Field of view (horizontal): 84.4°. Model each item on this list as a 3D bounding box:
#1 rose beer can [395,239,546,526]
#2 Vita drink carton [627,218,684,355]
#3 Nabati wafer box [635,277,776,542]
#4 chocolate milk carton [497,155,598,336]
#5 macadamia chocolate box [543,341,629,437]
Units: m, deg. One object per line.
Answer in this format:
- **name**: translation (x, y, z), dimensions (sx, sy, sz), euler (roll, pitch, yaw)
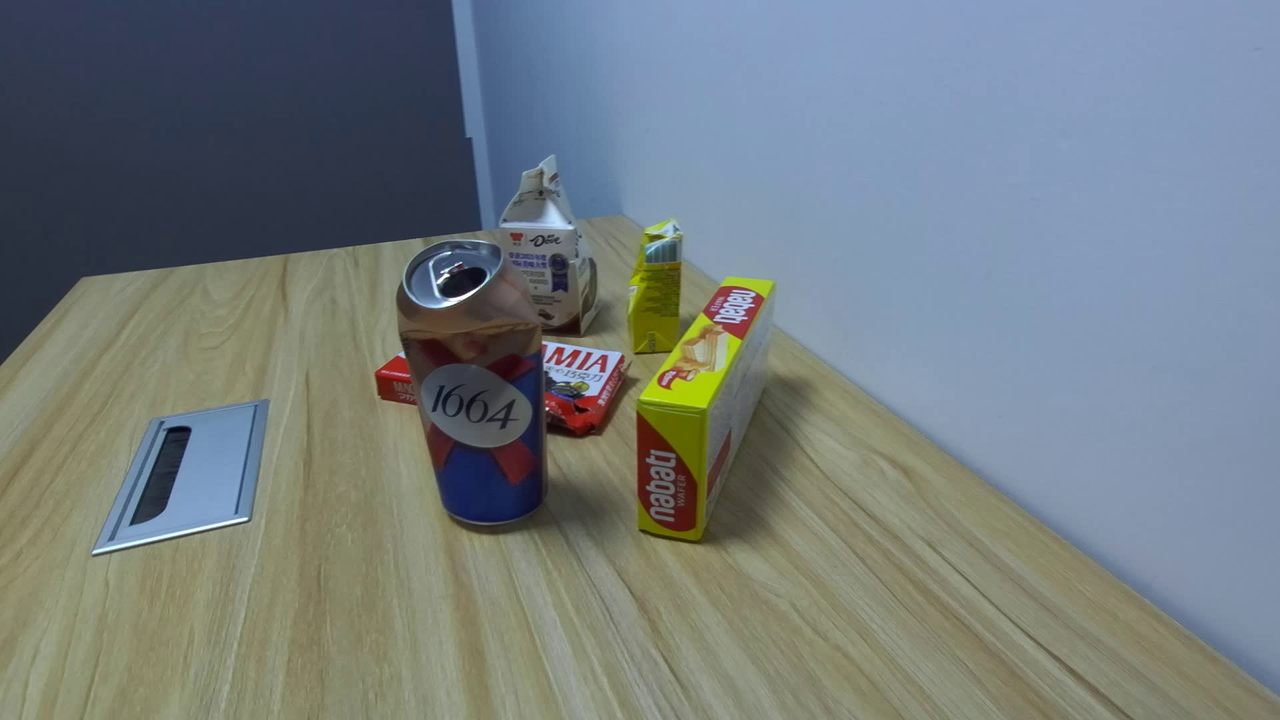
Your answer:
- **rose beer can**: translation (-0.093, 0.018, 0.411), dimensions (0.069, 0.168, 0.069), euler (-17, 34, -22)
- **Vita drink carton**: translation (0.011, -0.067, 0.630), dimensions (0.046, 0.110, 0.071), euler (-1, 24, -6)
- **Nabati wafer box**: translation (0.050, 0.020, 0.476), dimensions (0.042, 0.093, 0.203), euler (9, 29, 18)
- **chocolate milk carton**: translation (-0.083, -0.109, 0.666), dimensions (0.073, 0.155, 0.084), euler (4, 27, 11)
- **macadamia chocolate box**: translation (-0.106, 0.014, 0.571), dimensions (0.186, 0.027, 0.103), euler (9, 32, 18)
